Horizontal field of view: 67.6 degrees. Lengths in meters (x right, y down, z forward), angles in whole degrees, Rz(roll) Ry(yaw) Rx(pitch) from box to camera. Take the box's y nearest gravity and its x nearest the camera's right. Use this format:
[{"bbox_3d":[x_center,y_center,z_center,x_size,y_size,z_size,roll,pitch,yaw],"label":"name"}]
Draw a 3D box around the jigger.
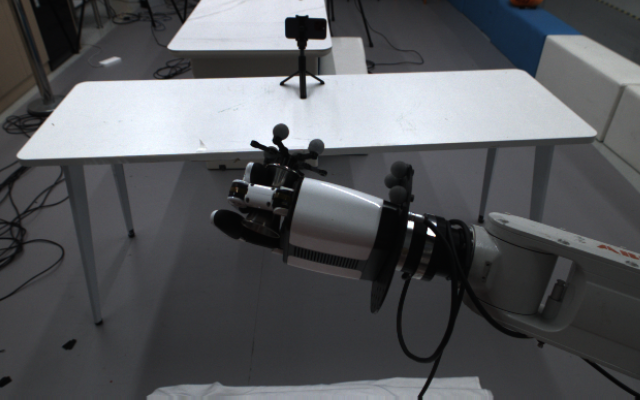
[{"bbox_3d":[-0.049,-0.001,0.509,0.043,0.043,0.071,15,70,18],"label":"jigger"}]
